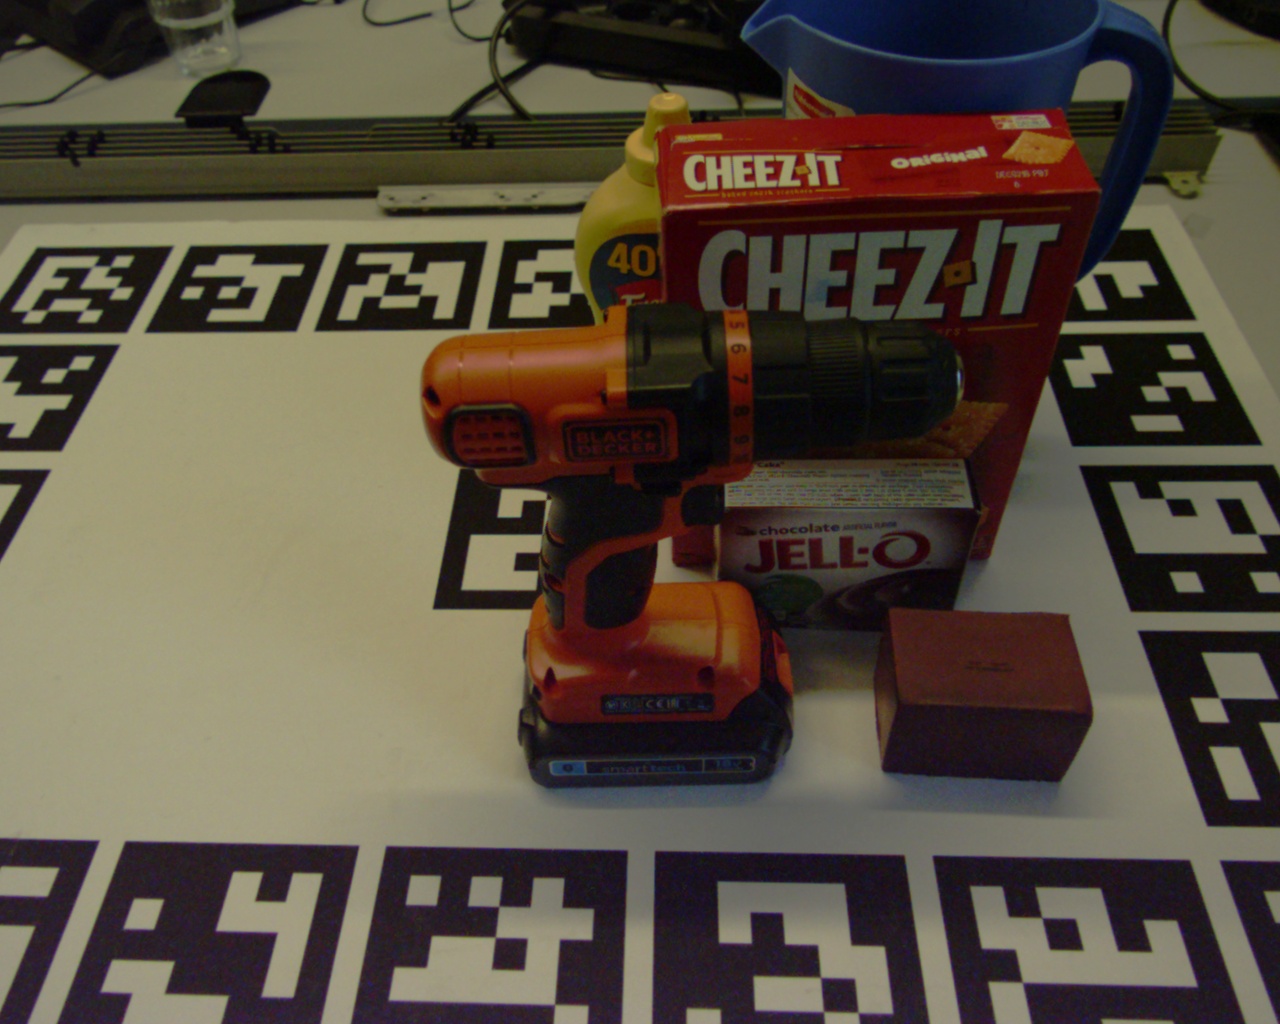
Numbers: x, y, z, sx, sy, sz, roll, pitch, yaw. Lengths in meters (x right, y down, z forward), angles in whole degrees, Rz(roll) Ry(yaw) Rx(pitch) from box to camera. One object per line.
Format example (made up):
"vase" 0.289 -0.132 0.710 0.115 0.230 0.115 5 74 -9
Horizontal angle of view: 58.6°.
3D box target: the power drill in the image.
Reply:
"power drill" 0.015 0.008 0.461 0.185 0.186 0.057 0 45 2

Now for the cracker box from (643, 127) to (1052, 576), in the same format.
"cracker box" 0.089 -0.064 0.541 0.164 0.212 0.072 -2 46 4

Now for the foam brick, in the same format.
"foam brick" 0.137 0.079 0.526 0.078 0.051 0.053 2 50 5

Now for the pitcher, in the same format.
"pitcher" 0.139 -0.143 0.603 0.190 0.241 0.133 4 48 9

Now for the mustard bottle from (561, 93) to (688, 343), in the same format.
"mustard bottle" 0.006 -0.136 0.620 0.097 0.190 0.058 11 50 12

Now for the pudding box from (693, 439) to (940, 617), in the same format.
"pudding box" 0.081 0.008 0.549 0.114 0.089 0.039 -1 46 7
